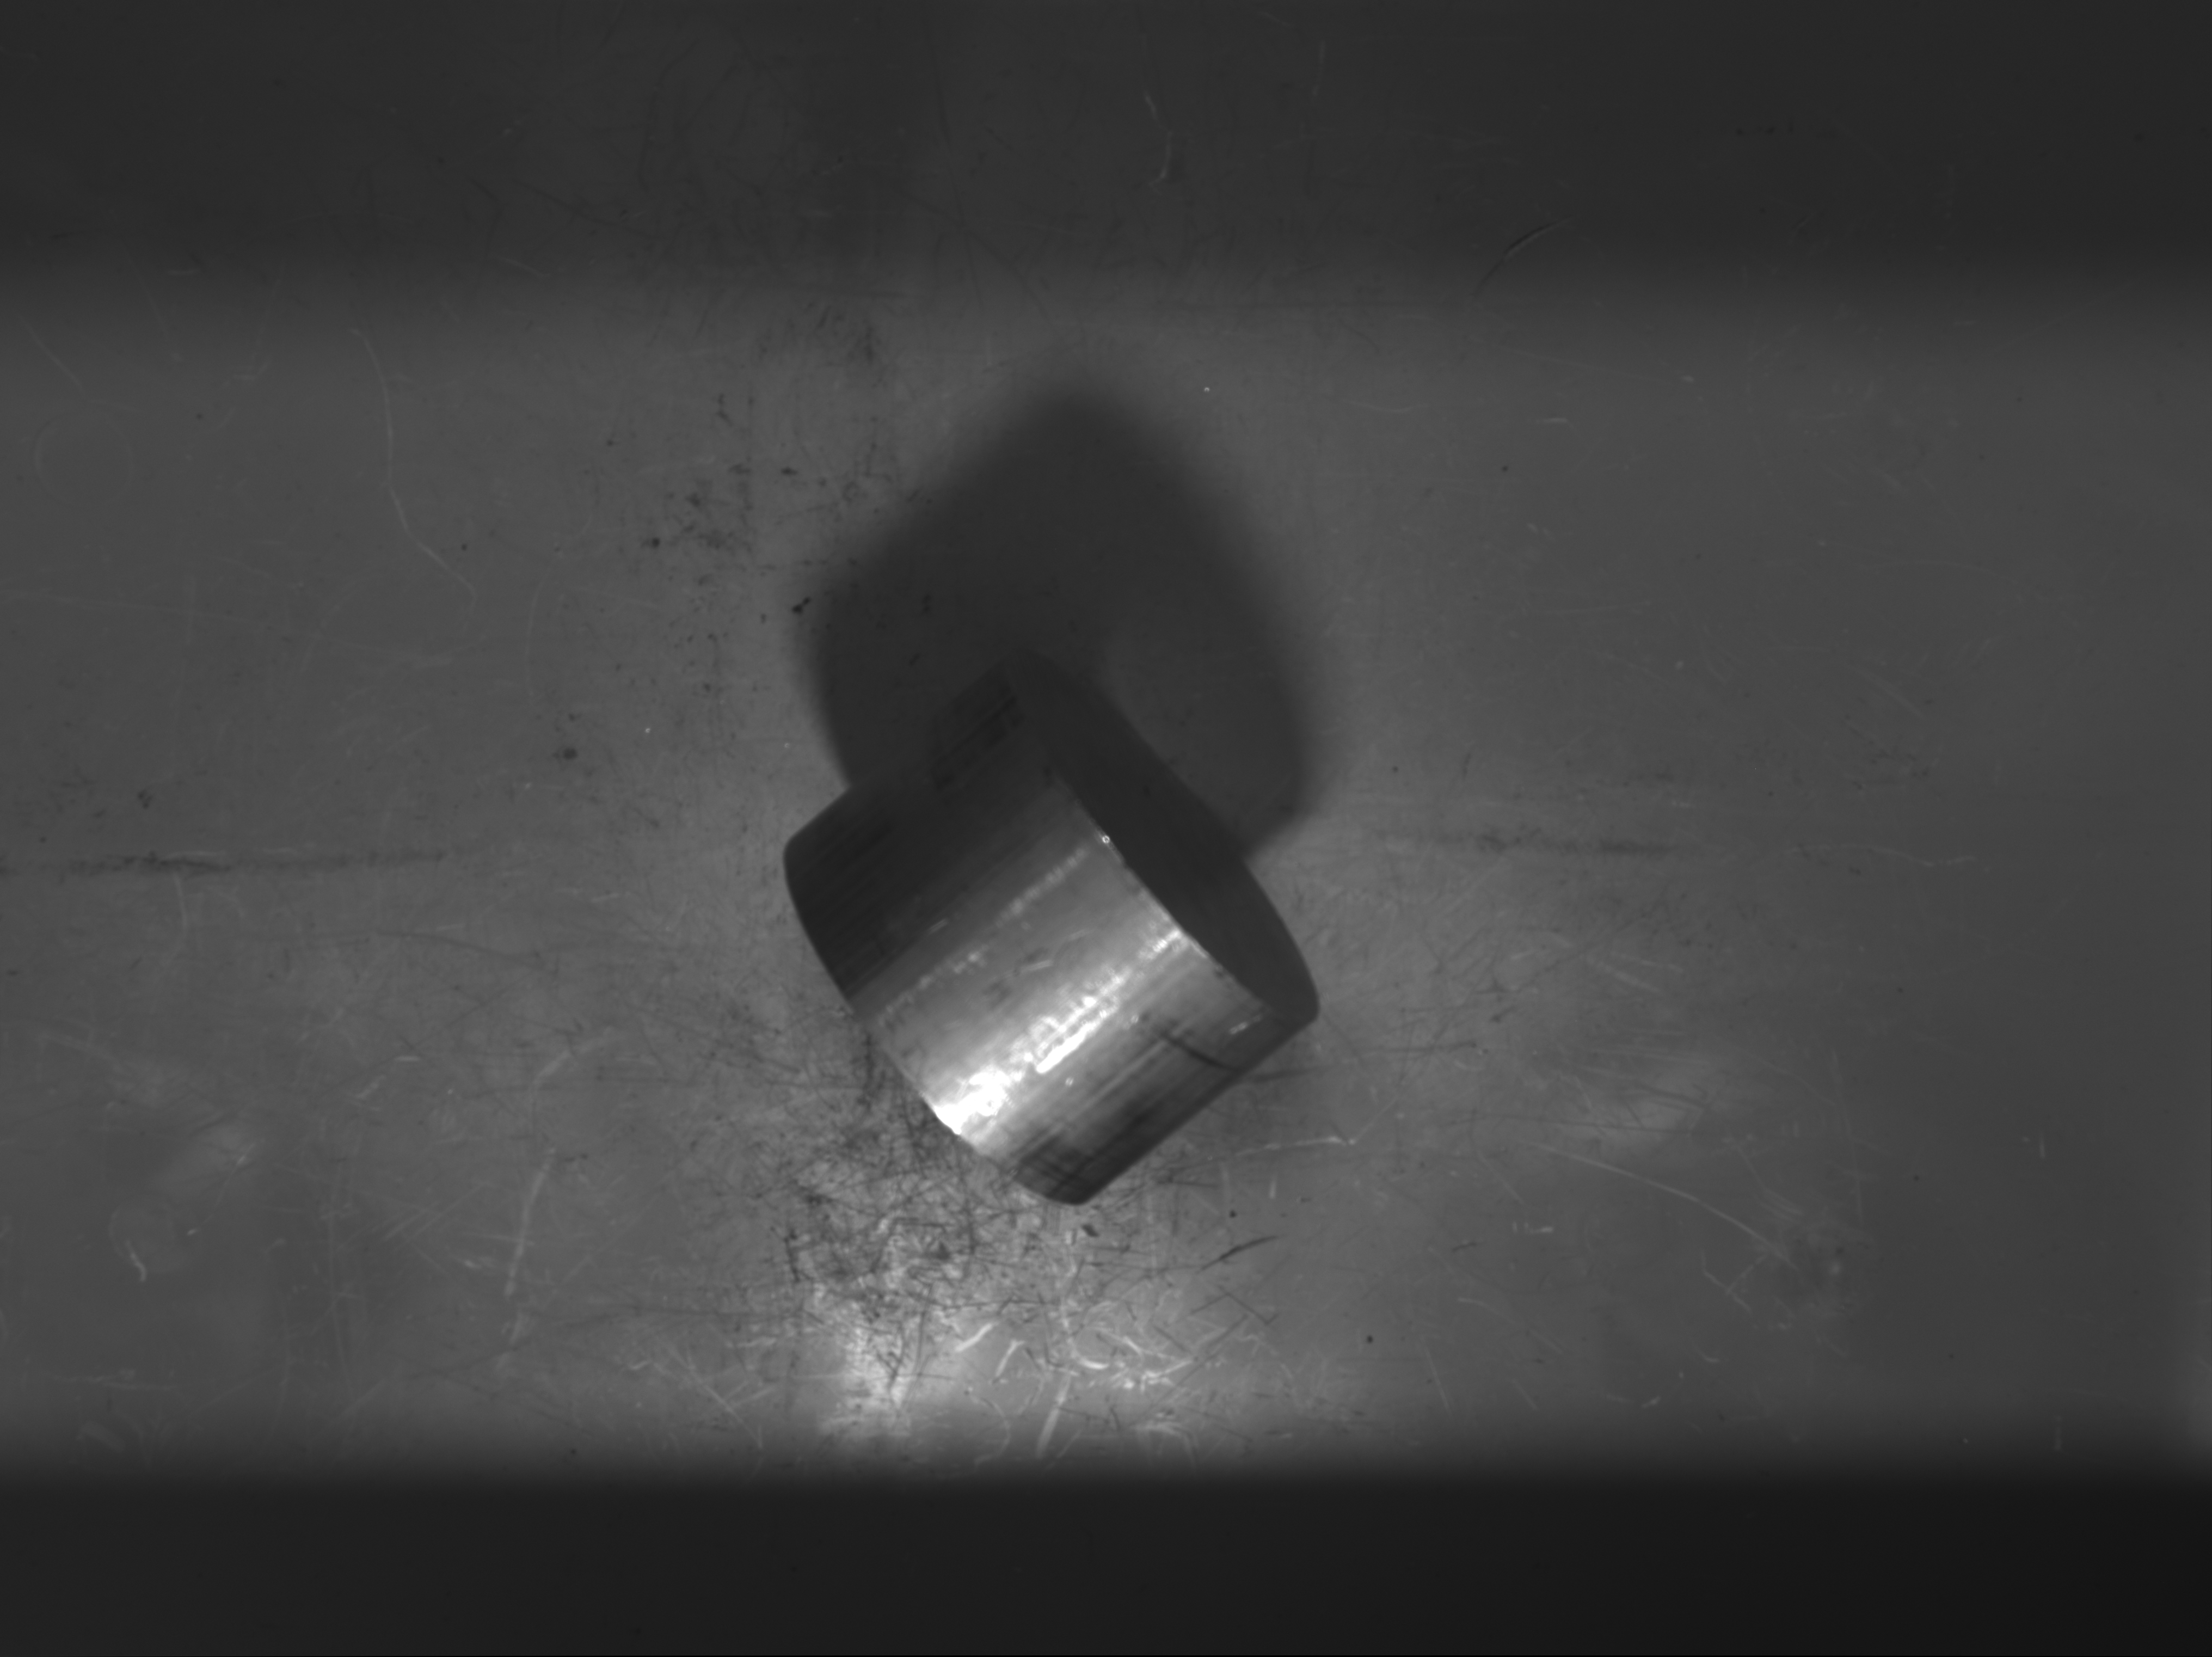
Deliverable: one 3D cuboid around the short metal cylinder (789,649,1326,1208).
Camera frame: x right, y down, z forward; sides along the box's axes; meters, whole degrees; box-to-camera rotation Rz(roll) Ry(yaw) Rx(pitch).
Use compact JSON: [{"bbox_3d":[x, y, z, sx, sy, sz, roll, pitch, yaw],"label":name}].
[{"bbox_3d":[-0.008,0.017,0.618,0.050,0.080,0.080,-39,106,13],"label":"short metal cylinder"}]
